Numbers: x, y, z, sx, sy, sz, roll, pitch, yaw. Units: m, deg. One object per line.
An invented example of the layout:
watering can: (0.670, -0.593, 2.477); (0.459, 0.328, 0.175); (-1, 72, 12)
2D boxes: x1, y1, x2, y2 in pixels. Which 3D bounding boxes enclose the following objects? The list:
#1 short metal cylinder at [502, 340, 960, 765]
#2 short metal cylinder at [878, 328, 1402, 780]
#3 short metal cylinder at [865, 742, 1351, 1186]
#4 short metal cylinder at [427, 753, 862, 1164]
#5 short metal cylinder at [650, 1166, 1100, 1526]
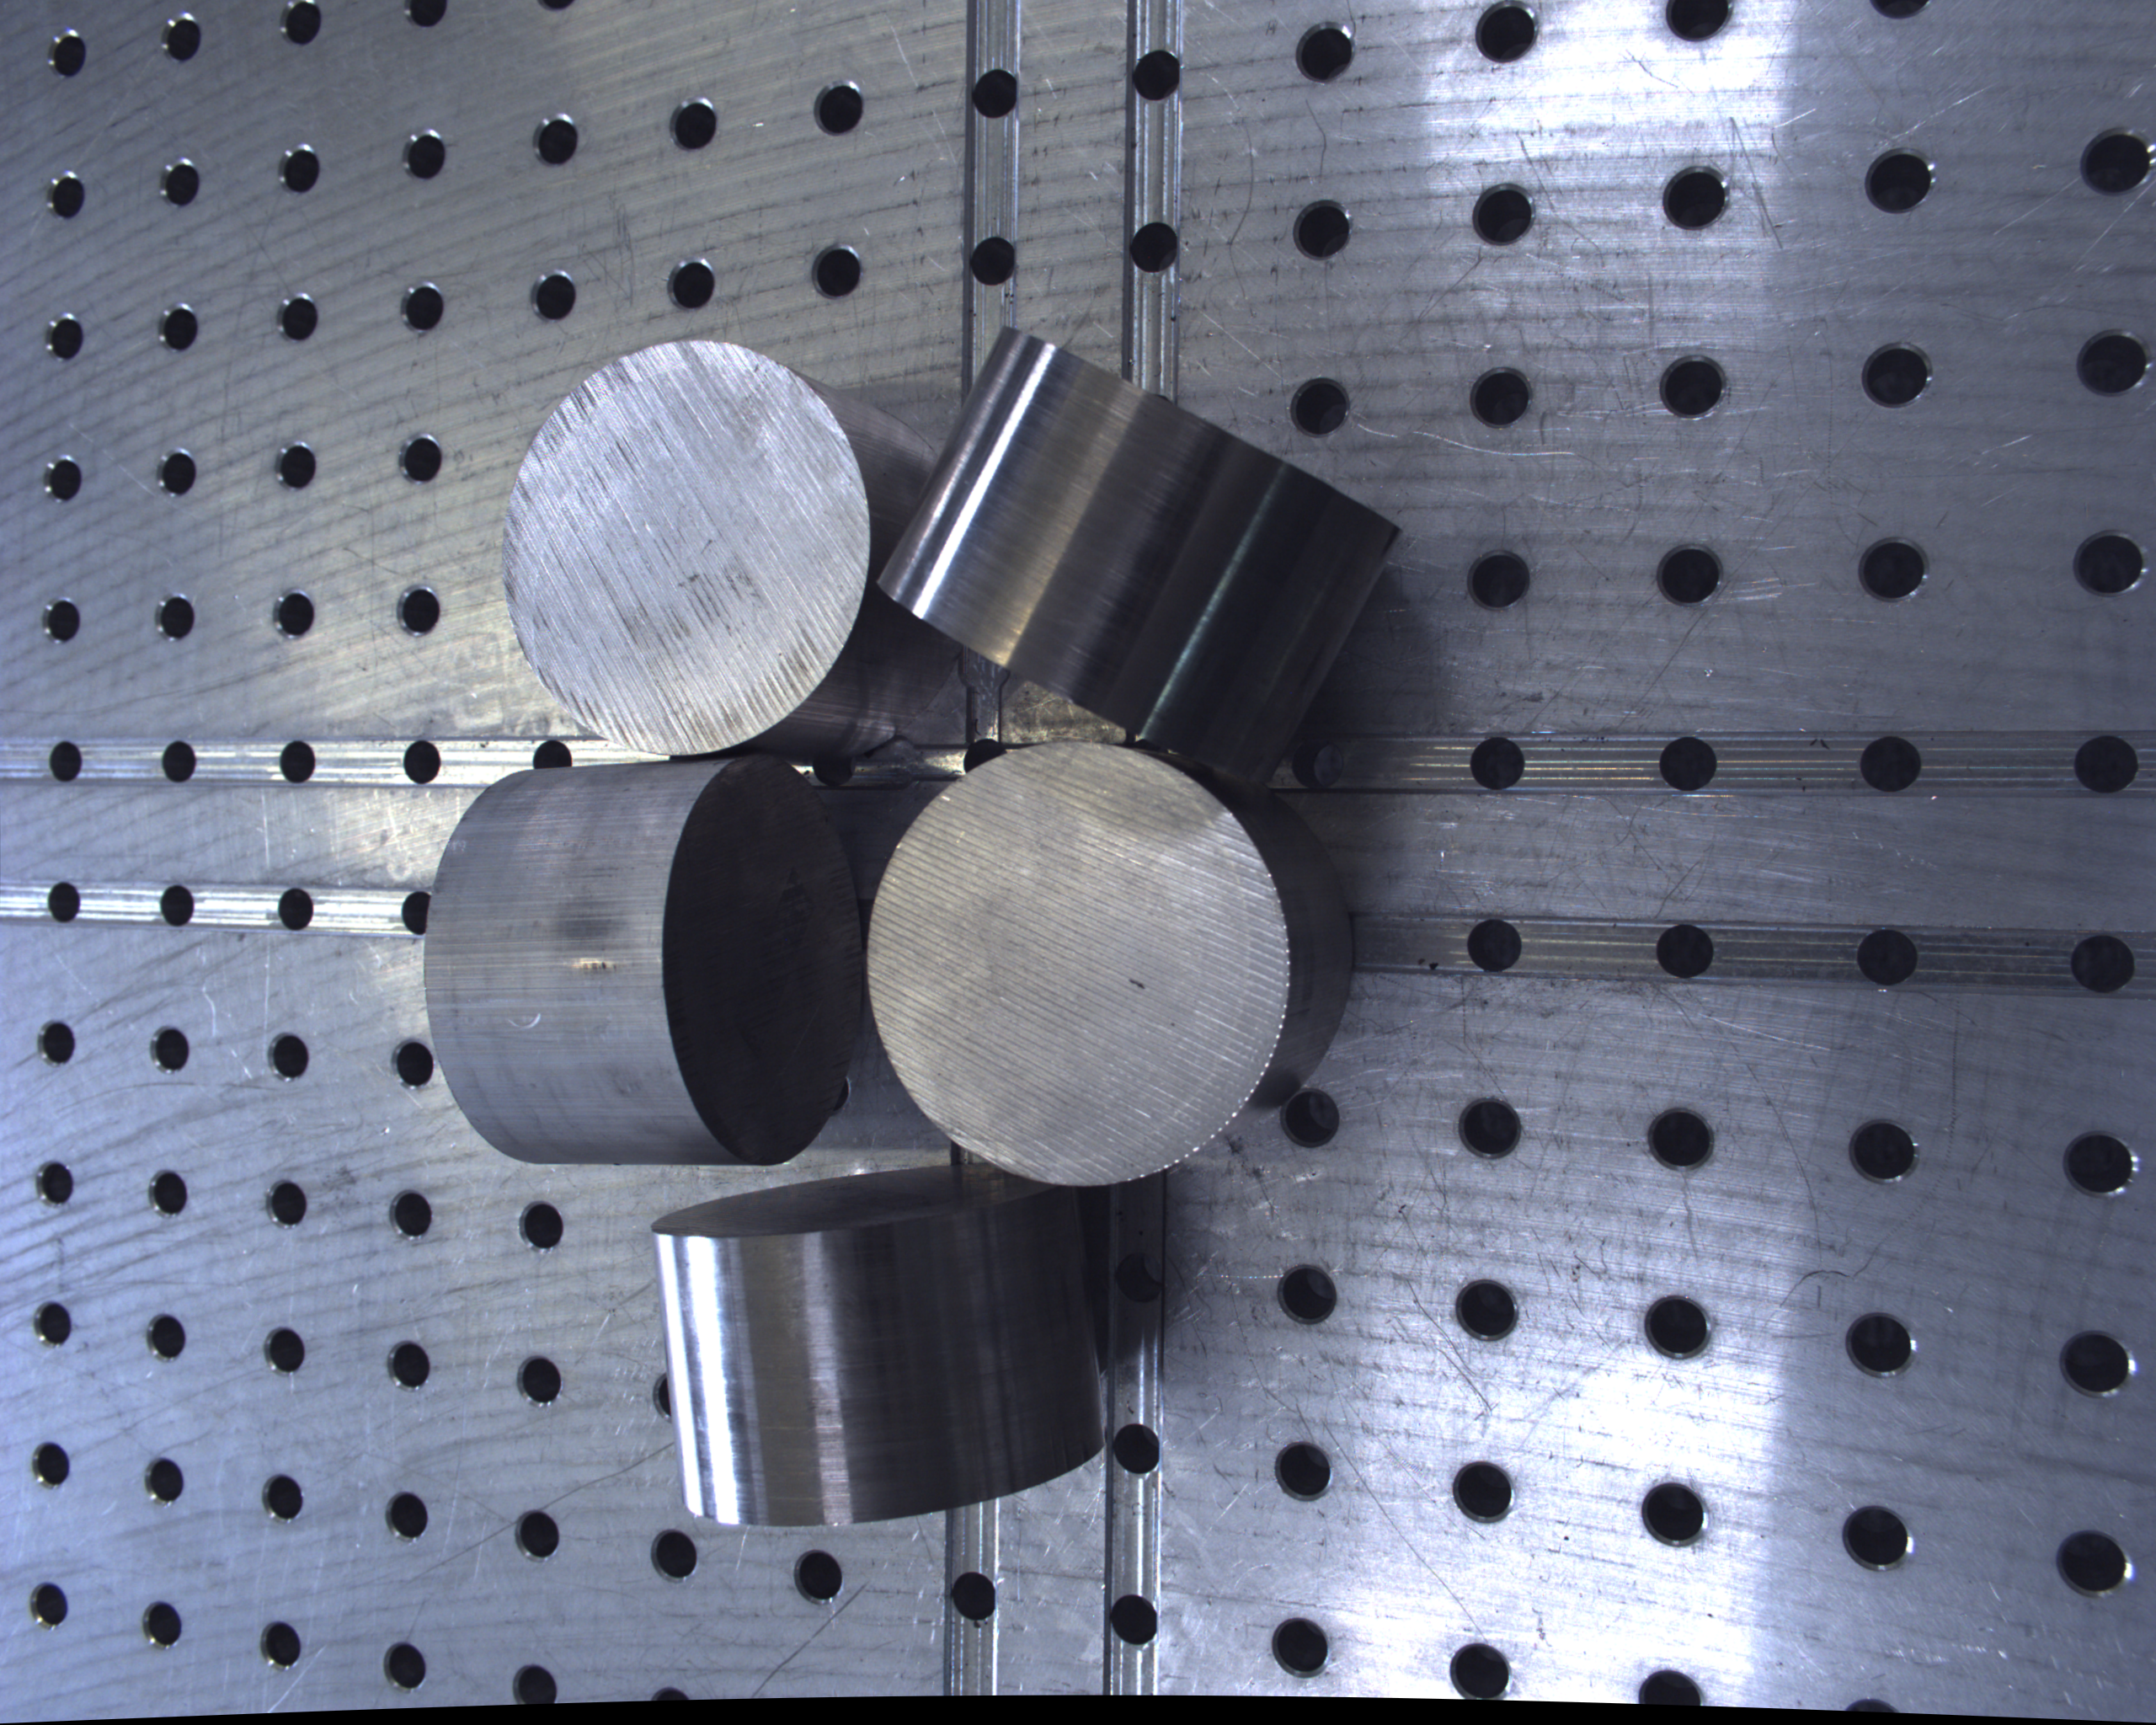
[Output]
short metal cylinder: (-0.068, -0.060, 0.423); (0.080, 0.050, 0.079); (0, 90, 21)
short metal cylinder: (0.011, -0.056, 0.379); (0.080, 0.080, 0.050); (30, 99, 17)
short metal cylinder: (0.007, 0.018, 0.397); (0.080, 0.050, 0.079); (0, 91, 19)
short metal cylinder: (-0.083, 0.019, 0.413); (0.050, 0.080, 0.080); (-2, 89, 19)
short metal cylinder: (-0.038, 0.089, 0.396); (0.080, 0.080, 0.050); (-7, 88, 20)
